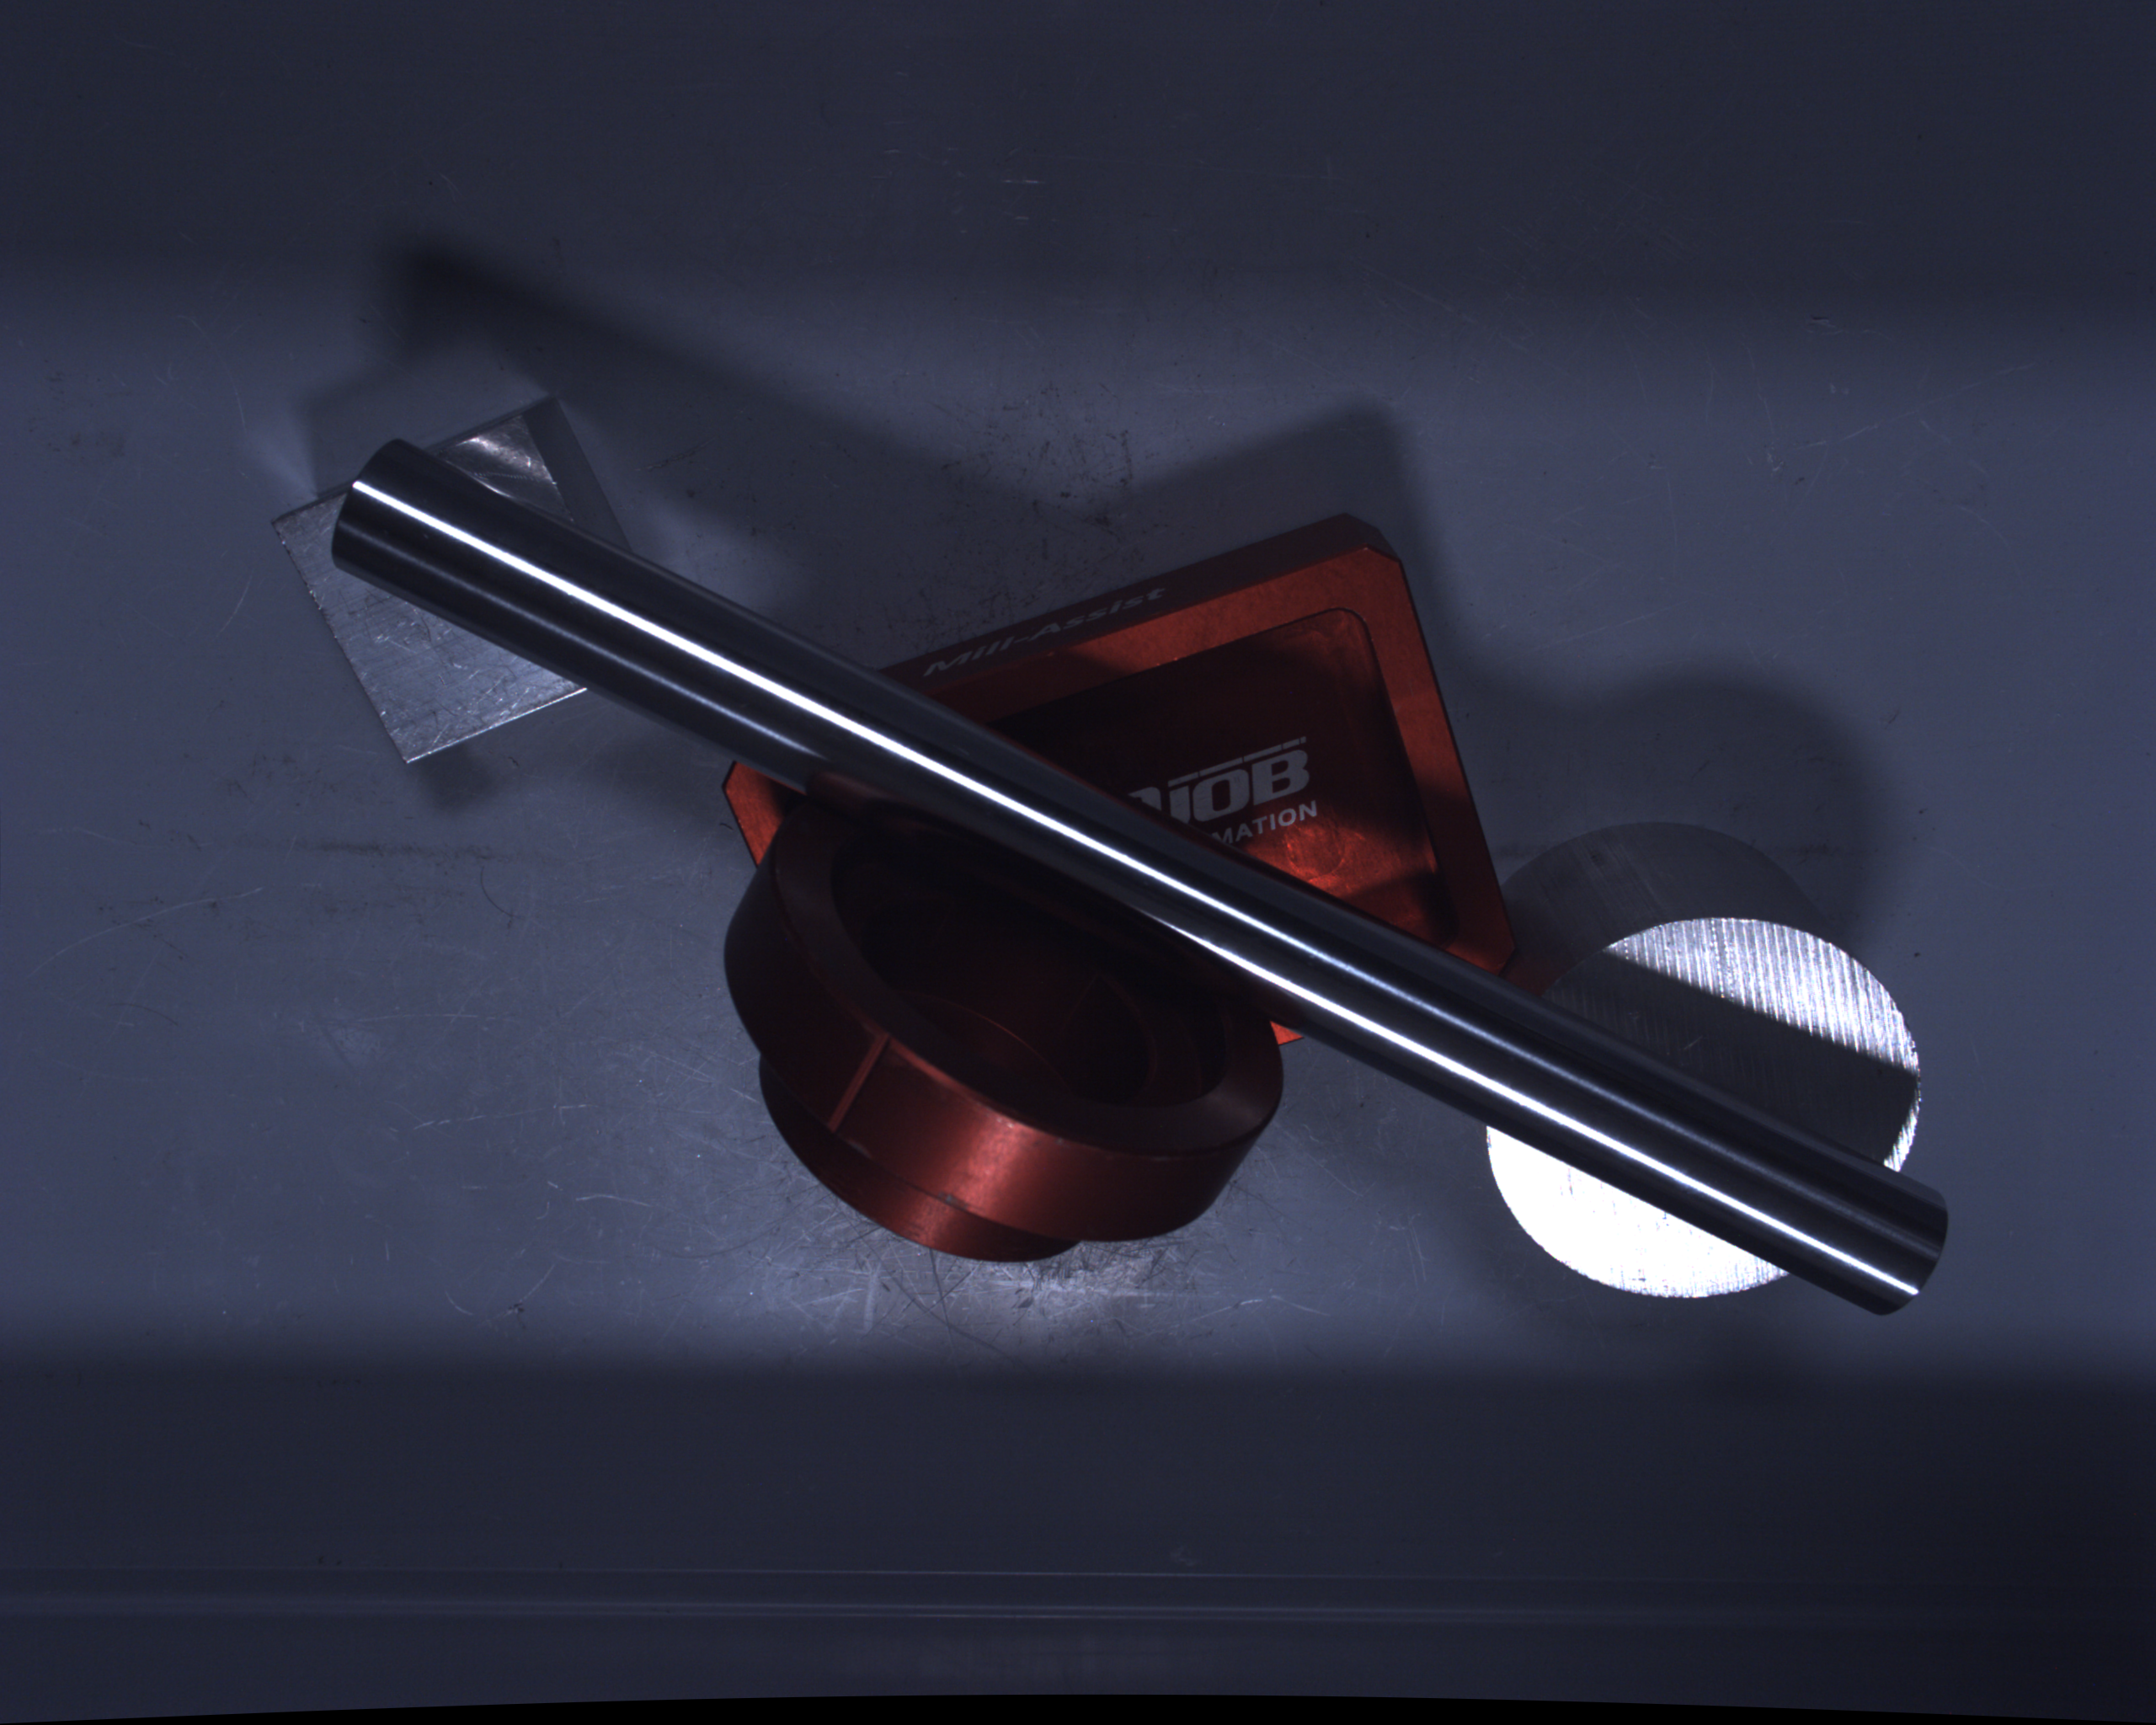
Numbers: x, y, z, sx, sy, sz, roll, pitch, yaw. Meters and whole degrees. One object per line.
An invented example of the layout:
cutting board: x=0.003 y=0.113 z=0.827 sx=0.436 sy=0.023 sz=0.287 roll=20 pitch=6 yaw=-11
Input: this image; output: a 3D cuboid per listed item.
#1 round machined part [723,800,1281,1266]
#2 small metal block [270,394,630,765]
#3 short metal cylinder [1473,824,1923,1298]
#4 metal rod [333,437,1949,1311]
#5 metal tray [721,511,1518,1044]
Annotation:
round machined part: x=-0.017 y=0.032 z=0.369 sx=0.098 sy=0.098 sz=0.042 roll=26 pitch=116 yaw=-10
small metal block: x=-0.111 y=-0.053 z=0.388 sx=0.050 sy=0.025 sz=0.050 roll=-21 pitch=109 yaw=7
short metal cylinder: x=0.117 y=0.038 z=0.412 sx=0.081 sy=0.050 sz=0.079 roll=0 pitch=110 yaw=-1
metal rod: x=0.014 y=0.004 z=0.368 sx=0.301 sy=0.025 sz=0.025 roll=26 pitch=108 yaw=-3
metal tray: x=0.009 y=-0.004 z=0.405 sx=0.131 sy=0.030 sz=0.090 roll=-18 pitch=109 yaw=6
